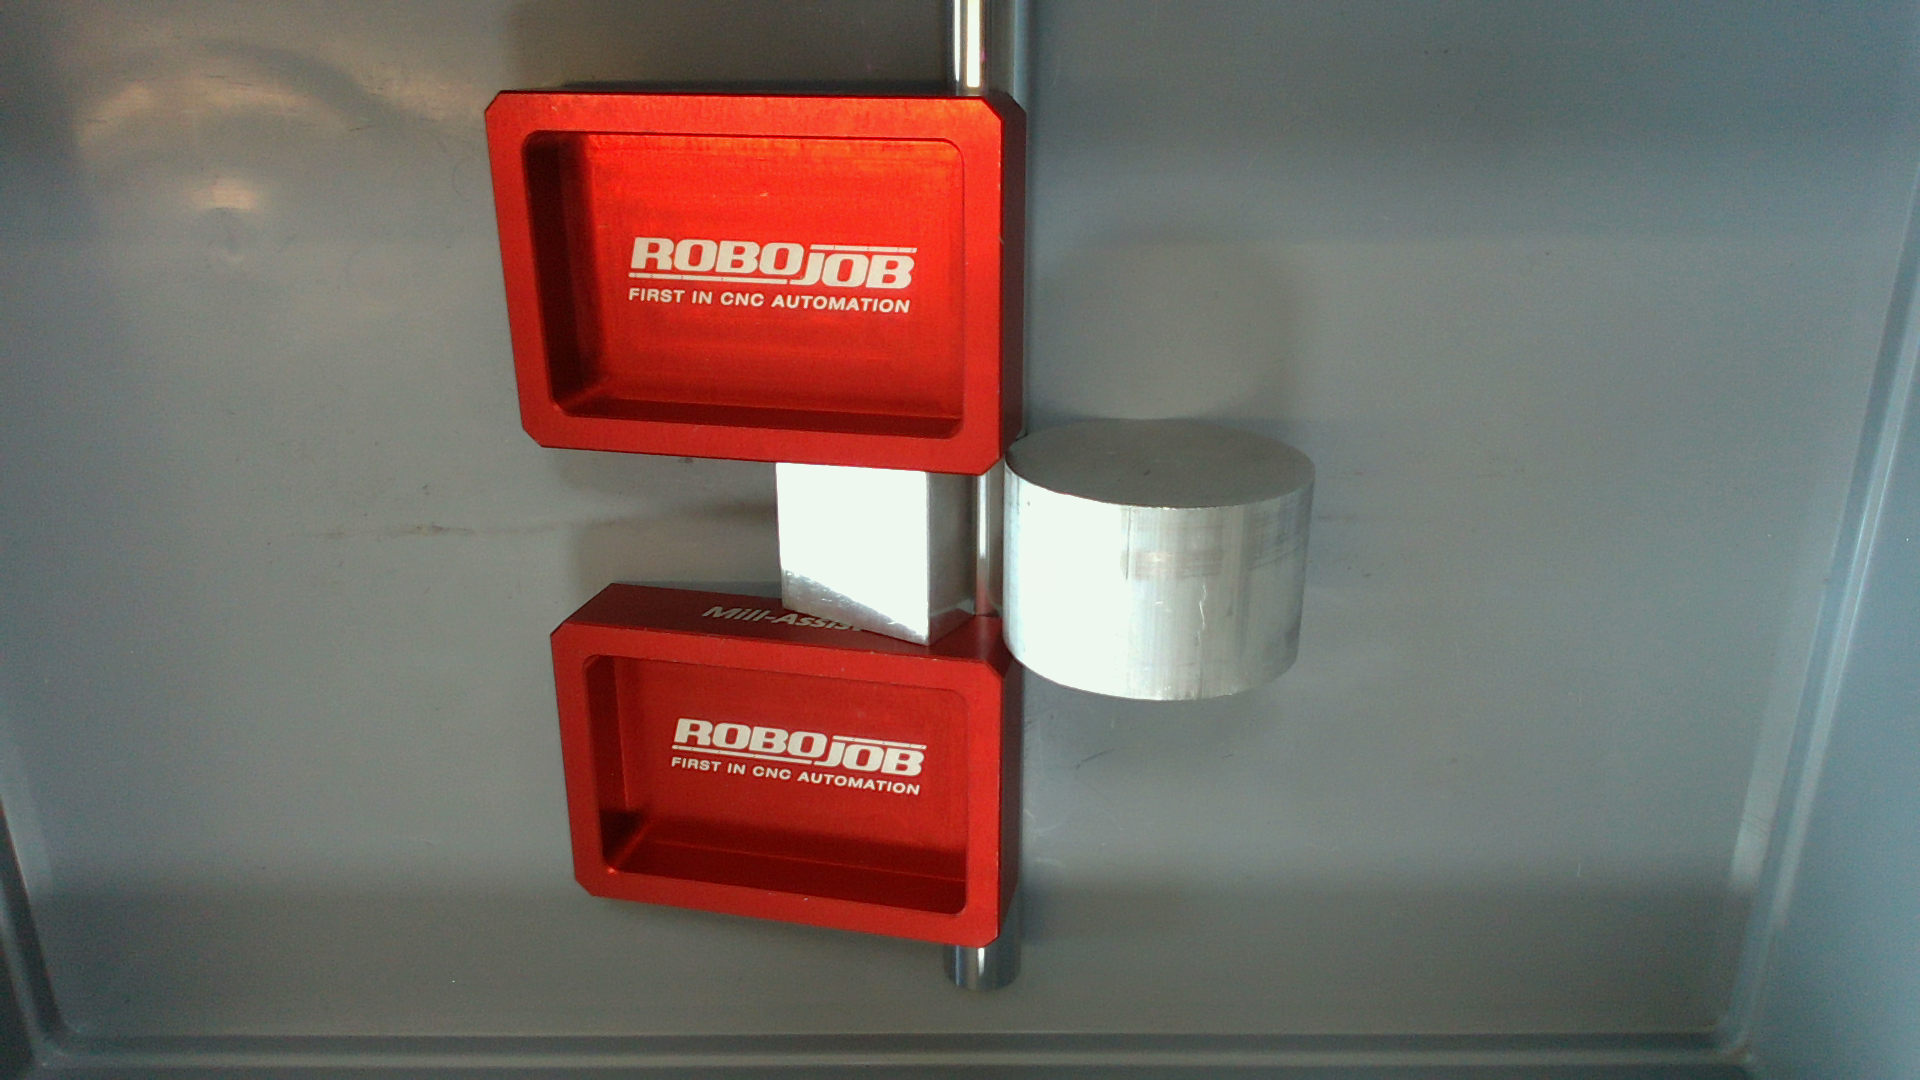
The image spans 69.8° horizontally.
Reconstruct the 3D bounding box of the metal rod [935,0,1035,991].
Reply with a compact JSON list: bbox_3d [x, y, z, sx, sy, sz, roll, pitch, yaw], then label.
[{"bbox_3d":[0.006,-0.004,0.391,0.025,0.025,0.300,0,110,0],"label":"metal rod"}]

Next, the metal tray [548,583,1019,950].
[{"bbox_3d":[-0.049,0.064,0.399,0.130,0.030,0.090,5,111,11],"label":"metal tray"}]

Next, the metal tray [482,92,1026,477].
[{"bbox_3d":[-0.050,-0.067,0.350,0.130,0.030,0.090,4,111,12],"label":"metal tray"}]

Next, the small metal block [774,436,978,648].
[{"bbox_3d":[-0.023,-0.003,0.380,0.050,0.025,0.050,13,113,29],"label":"small metal block"}]

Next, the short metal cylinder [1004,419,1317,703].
[{"bbox_3d":[0.051,0.002,0.365,0.080,0.080,0.050,0,110,0],"label":"short metal cylinder"}]
